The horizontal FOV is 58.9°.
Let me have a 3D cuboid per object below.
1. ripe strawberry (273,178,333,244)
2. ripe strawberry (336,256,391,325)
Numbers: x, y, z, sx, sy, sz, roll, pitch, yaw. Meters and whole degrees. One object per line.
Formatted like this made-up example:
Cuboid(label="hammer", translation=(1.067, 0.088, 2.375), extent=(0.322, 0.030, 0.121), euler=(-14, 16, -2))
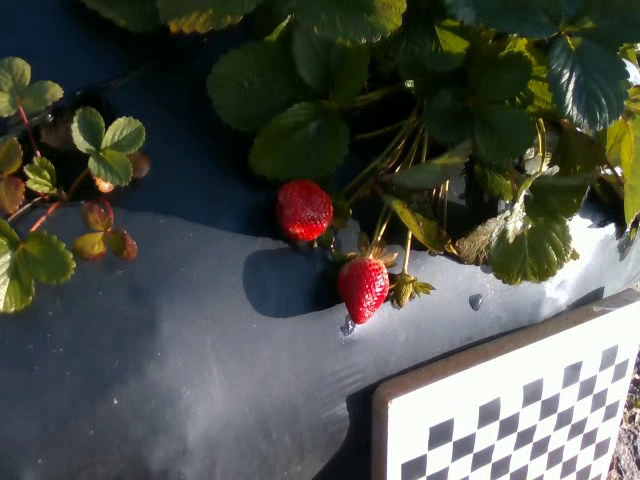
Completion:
Cuboid(label="ripe strawberry", translation=(-0.011, -0.020, 0.380), extent=(0.039, 0.048, 0.054), euler=(21, 14, 33))
Cuboid(label="ripe strawberry", translation=(0.031, 0.036, 0.383), extent=(0.038, 0.053, 0.043), euler=(-22, -45, 37))
